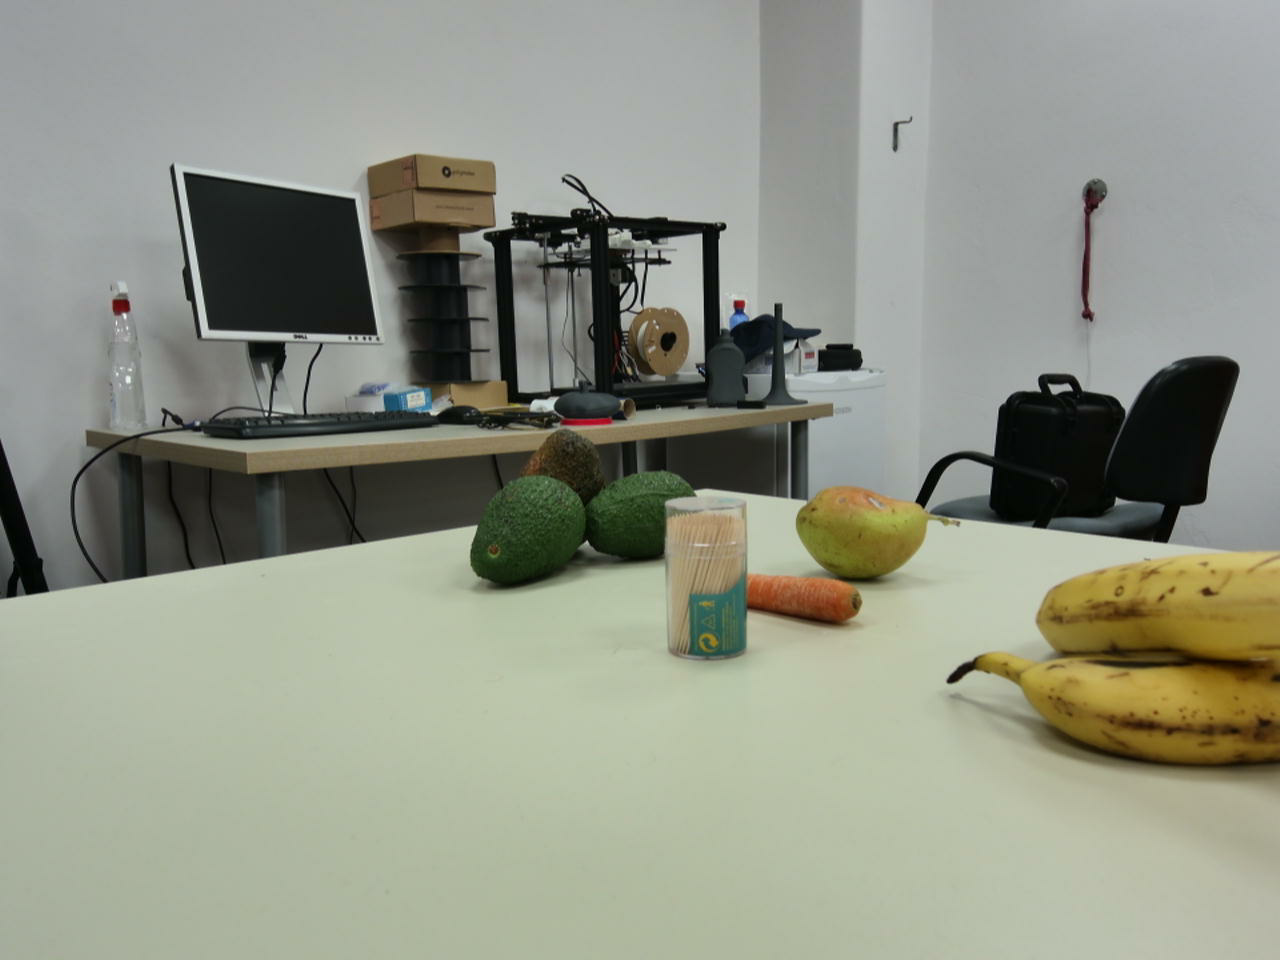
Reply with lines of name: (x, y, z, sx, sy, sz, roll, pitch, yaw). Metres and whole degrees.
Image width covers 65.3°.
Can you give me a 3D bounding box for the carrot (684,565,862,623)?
carrot: (0.073, 0.063, 0.576, 0.122, 0.023, 0.024, 6, 8, 44)
